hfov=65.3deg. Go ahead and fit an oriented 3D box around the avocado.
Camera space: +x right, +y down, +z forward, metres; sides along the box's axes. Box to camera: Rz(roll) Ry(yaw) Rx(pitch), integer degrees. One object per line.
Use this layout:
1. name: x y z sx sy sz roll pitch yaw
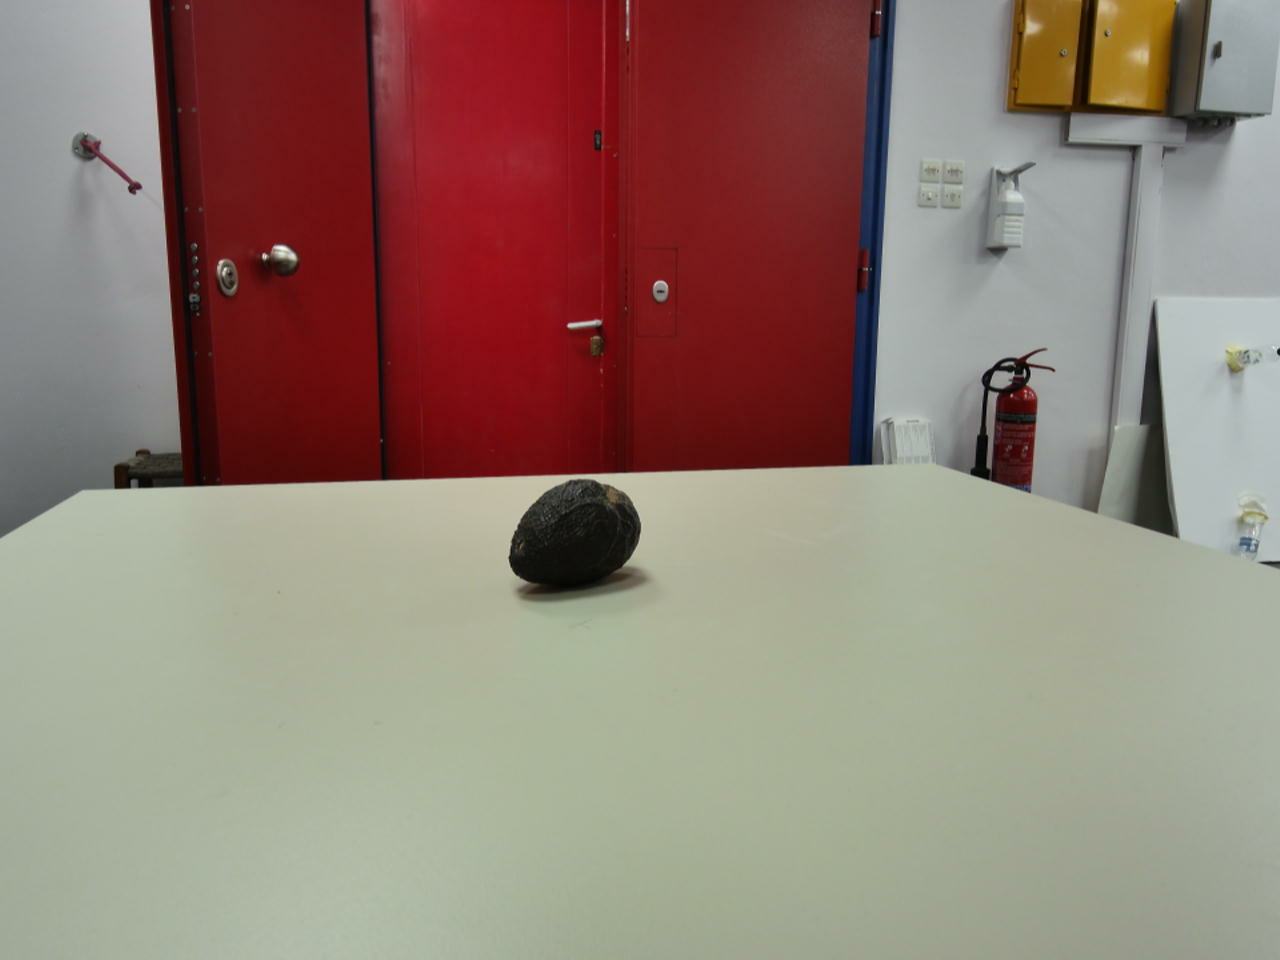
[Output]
1. avocado: -0.040 0.031 0.599 0.092 0.062 0.062 -6 10 -36
